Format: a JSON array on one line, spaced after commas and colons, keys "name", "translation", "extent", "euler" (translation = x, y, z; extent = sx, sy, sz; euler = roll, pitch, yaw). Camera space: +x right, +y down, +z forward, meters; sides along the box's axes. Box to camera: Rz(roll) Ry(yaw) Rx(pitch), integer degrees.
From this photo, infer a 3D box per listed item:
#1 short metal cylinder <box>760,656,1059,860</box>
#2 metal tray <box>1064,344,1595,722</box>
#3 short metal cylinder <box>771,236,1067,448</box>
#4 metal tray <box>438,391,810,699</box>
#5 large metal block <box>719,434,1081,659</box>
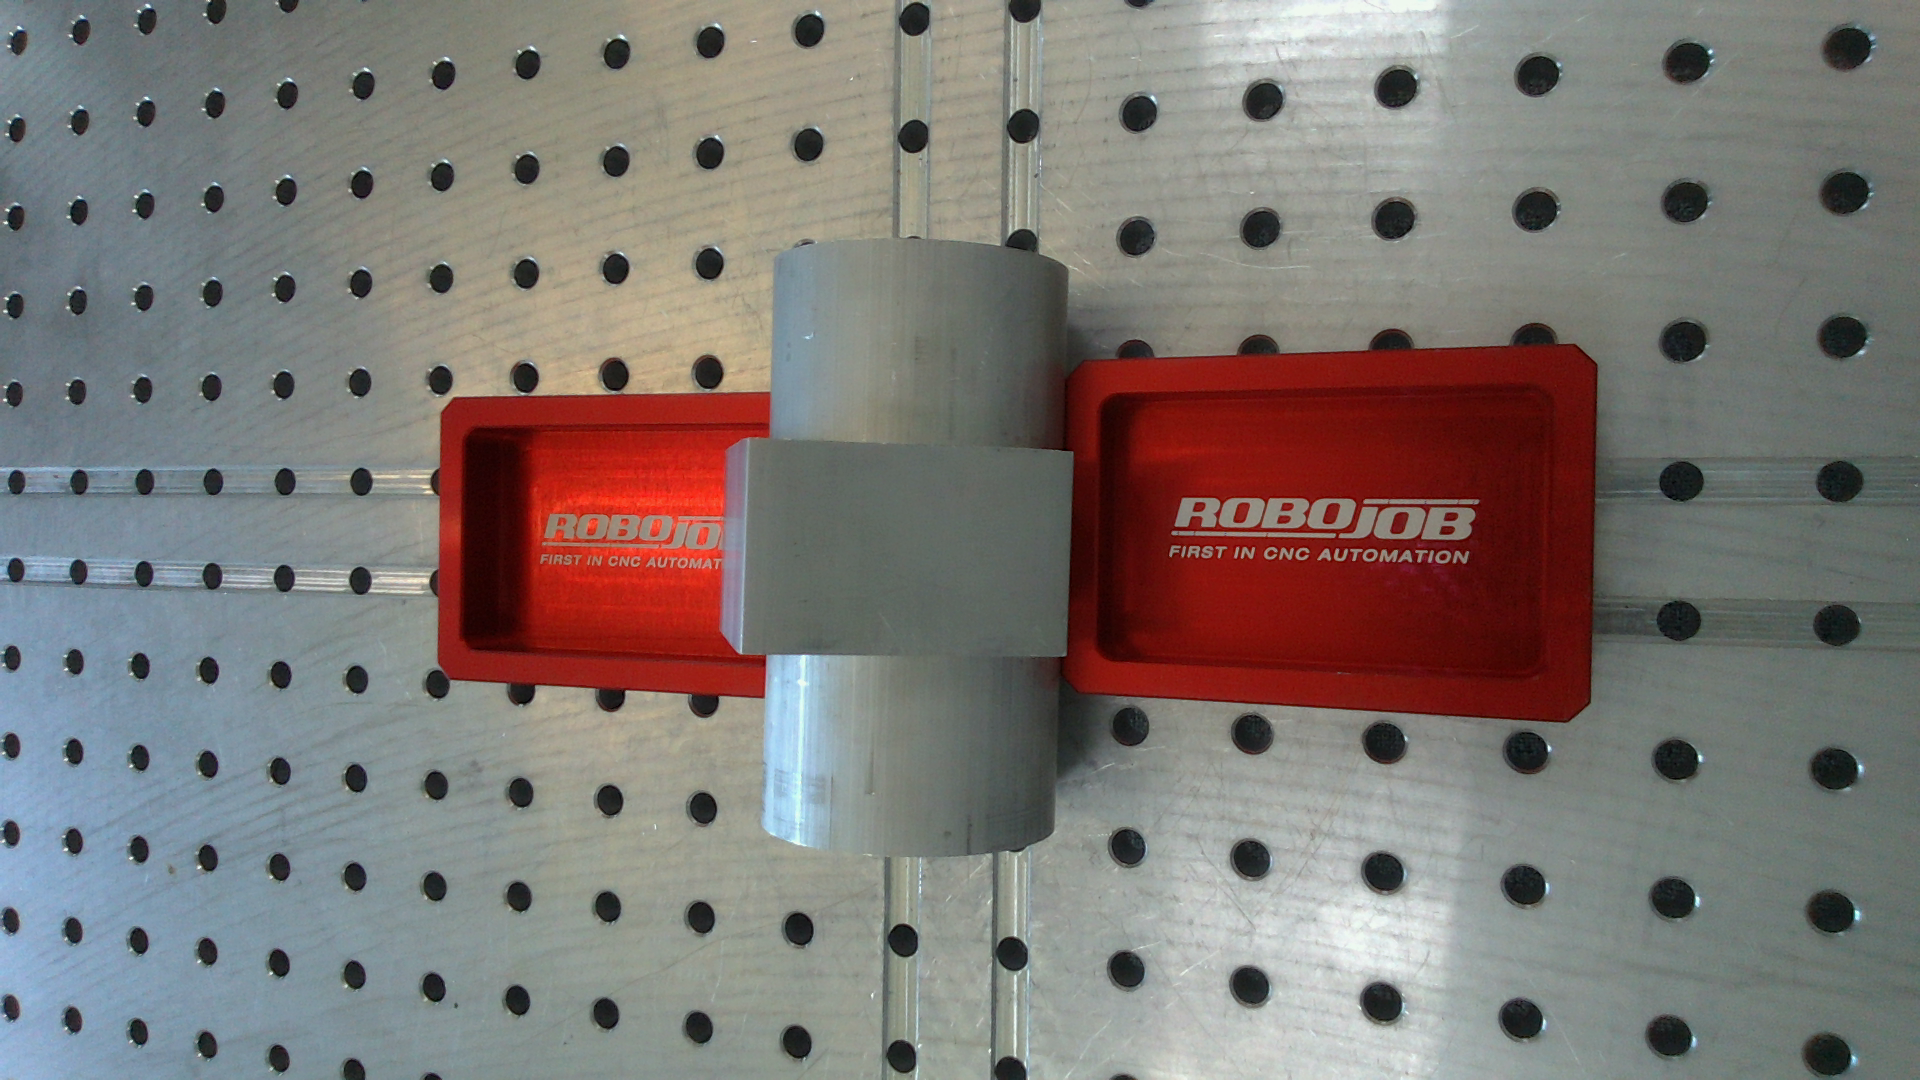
[{"name": "short metal cylinder", "translation": [-0.013, 0.052, 0.373], "extent": [0.080, 0.080, 0.050], "euler": [2, 91, 20]}, {"name": "metal tray", "translation": [0.094, -0.003, 0.361], "extent": [0.130, 0.030, 0.090], "euler": [1, 90, 20]}, {"name": "short metal cylinder", "translation": [-0.011, -0.049, 0.373], "extent": [0.080, 0.080, 0.050], "euler": [1, 91, 20]}, {"name": "metal tray", "translation": [-0.101, 0.001, 0.432], "extent": [0.130, 0.030, 0.090], "euler": [1, 90, 20]}, {"name": "large metal block", "translation": [-0.020, 0.002, 0.361], "extent": [0.080, 0.080, 0.050], "euler": [2, 90, -14]}]
